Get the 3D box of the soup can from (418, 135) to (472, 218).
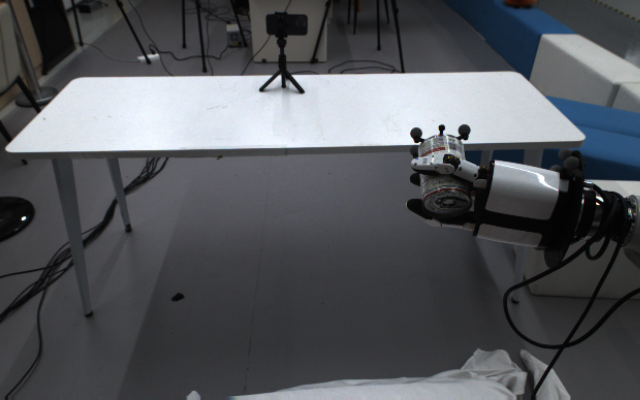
[{"bbox_3d":[0.177,-0.035,0.687,0.067,0.067,0.101,3,57,1],"label":"soup can"}]
